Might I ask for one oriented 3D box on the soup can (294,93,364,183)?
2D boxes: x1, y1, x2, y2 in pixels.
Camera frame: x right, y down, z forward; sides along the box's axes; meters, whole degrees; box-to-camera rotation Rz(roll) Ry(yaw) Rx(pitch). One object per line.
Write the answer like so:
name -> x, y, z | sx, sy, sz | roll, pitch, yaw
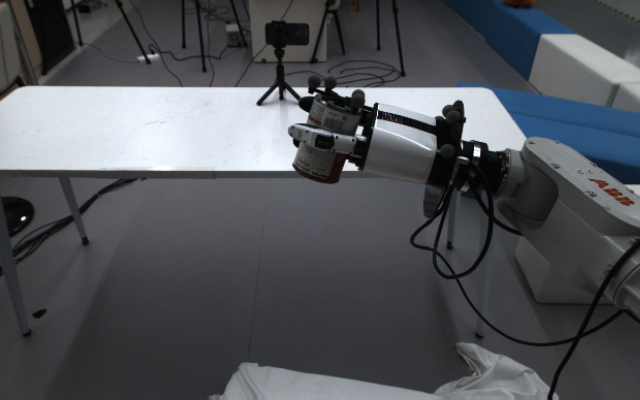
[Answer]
soup can -> 0.010, -0.081, 0.646 | 0.067, 0.101, 0.067 | 17, 21, -7
